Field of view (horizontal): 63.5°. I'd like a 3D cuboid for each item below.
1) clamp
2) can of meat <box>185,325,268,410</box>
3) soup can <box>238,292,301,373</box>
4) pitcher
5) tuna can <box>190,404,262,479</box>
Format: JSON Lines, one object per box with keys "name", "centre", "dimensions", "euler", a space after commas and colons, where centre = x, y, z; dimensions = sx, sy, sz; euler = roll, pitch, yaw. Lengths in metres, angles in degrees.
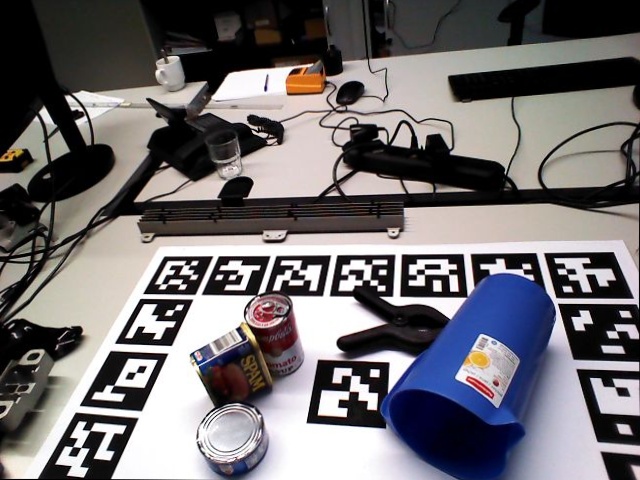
{"name": "clamp", "centre": [0.099, 0.124, 0.767], "dimensions": [0.166, 0.037, 0.121], "euler": [2, 36, 13]}
{"name": "can of meat", "centre": [-0.128, 0.174, 0.691], "dimensions": [0.083, 0.102, 0.058], "euler": [-27, 41, -12]}
{"name": "soup can", "centre": [-0.070, 0.133, 0.735], "dimensions": [0.068, 0.102, 0.067], "euler": [-10, 39, 8]}
{"name": "pitcher", "centre": [0.181, 0.143, 0.619], "dimensions": [0.190, 0.133, 0.241], "euler": [-8, 24, 43]}
{"name": "tuna can", "centre": [-0.117, 0.252, 0.649], "dimensions": [0.086, 0.034, 0.085], "euler": [-8, 40, 6]}
